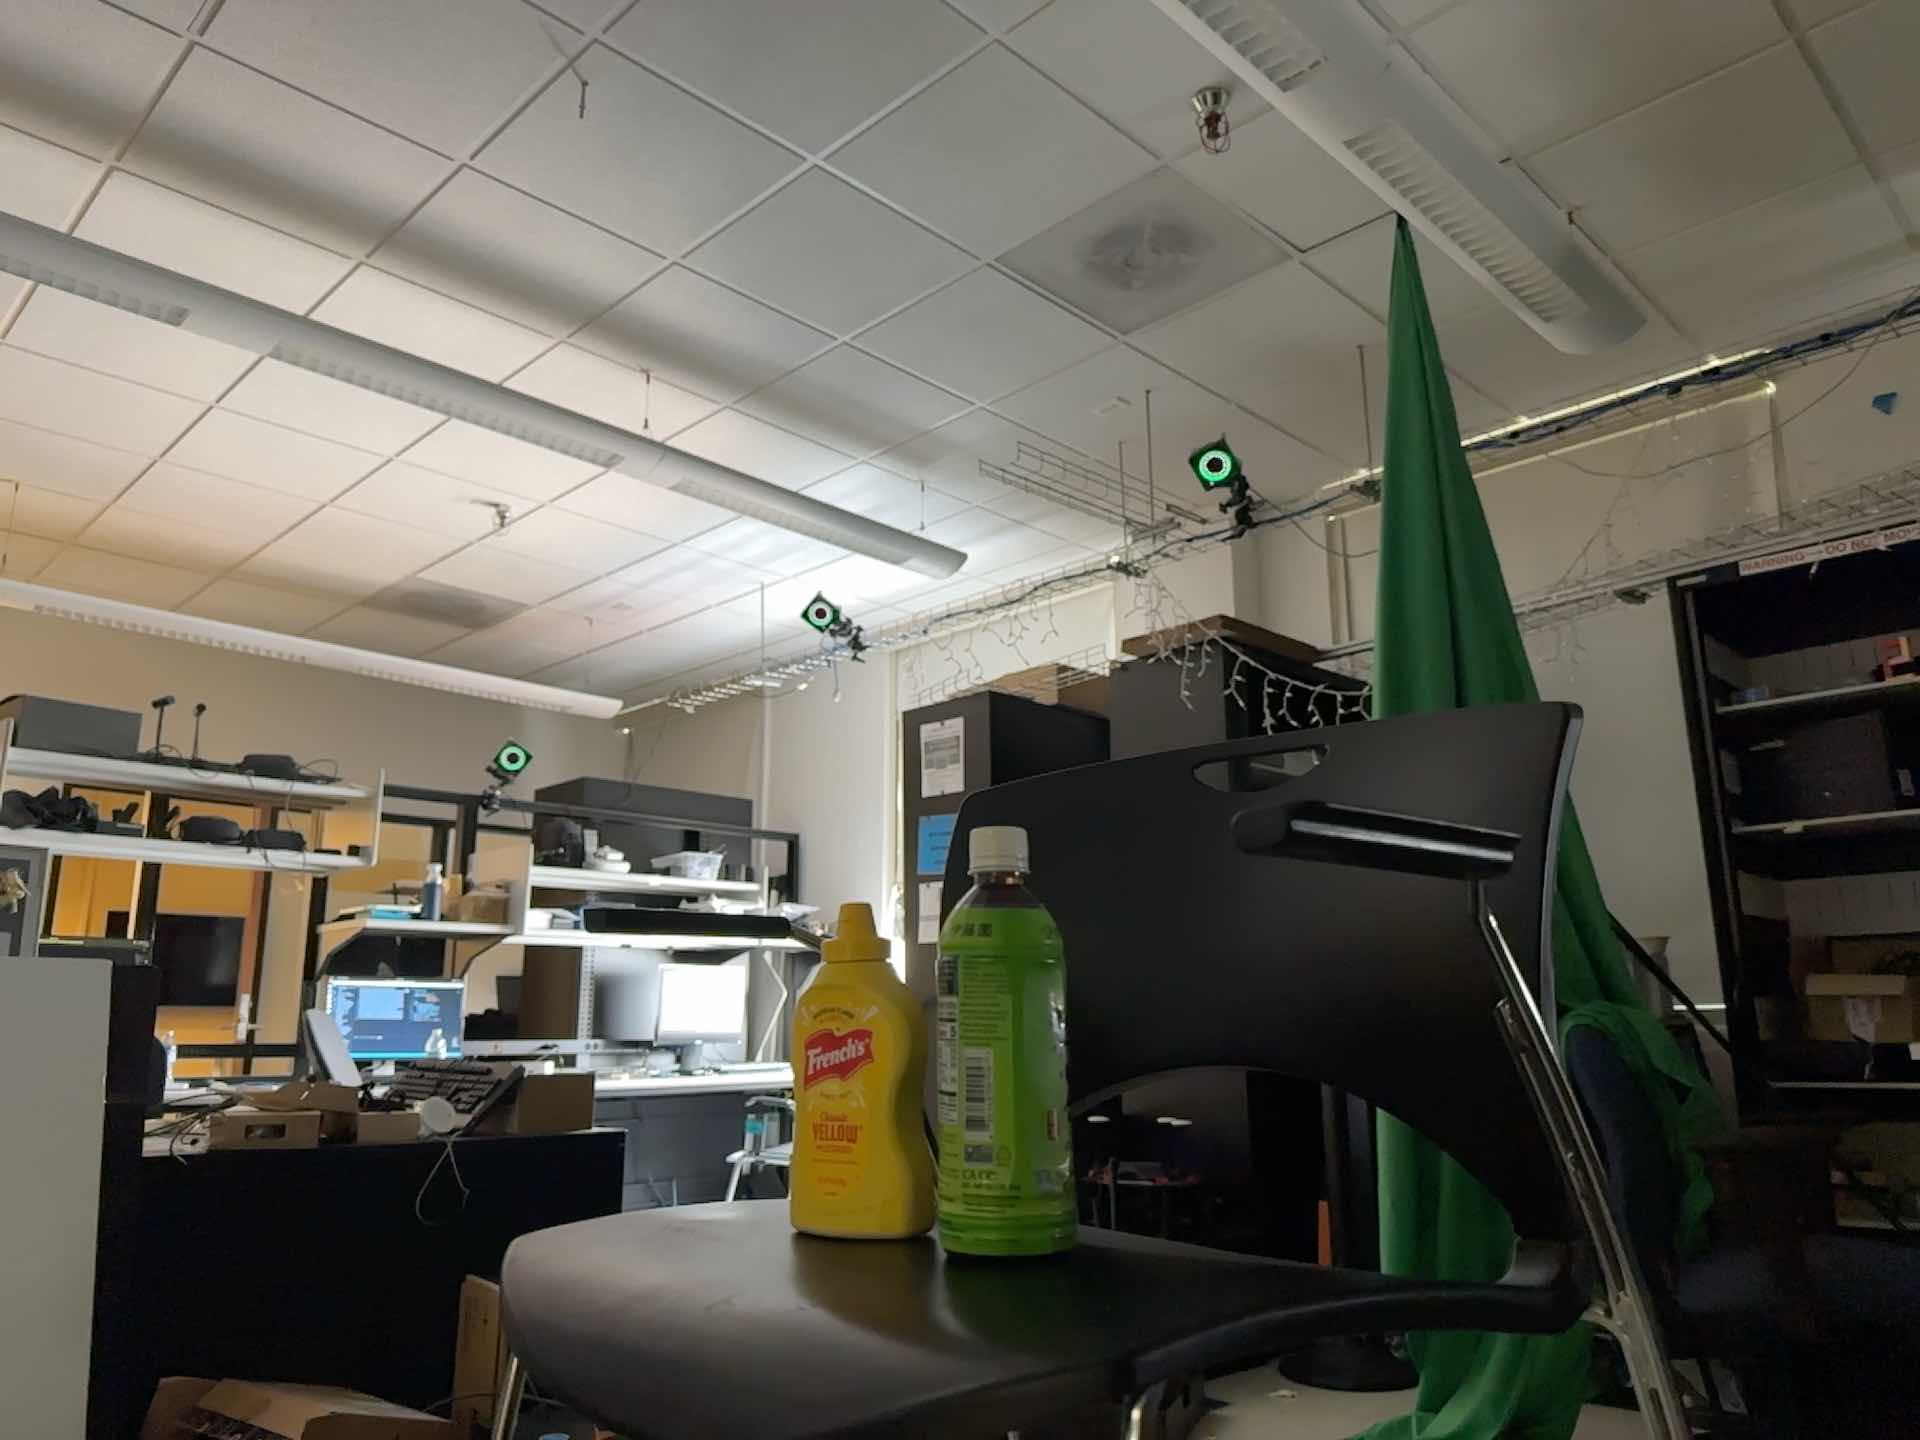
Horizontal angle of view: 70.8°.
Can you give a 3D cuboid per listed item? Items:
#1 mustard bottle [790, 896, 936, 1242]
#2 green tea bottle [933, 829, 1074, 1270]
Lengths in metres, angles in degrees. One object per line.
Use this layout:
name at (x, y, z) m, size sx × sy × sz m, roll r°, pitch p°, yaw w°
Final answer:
mustard bottle at (-0.055, 0.192, 0.760) m, size 0.092 × 0.184 × 0.054 m, roll -10°, pitch -14°, yaw 40°
green tea bottle at (0.021, 0.162, 0.685) m, size 0.073 × 0.212 × 0.073 m, roll 0°, pitch -9°, yaw 0°
